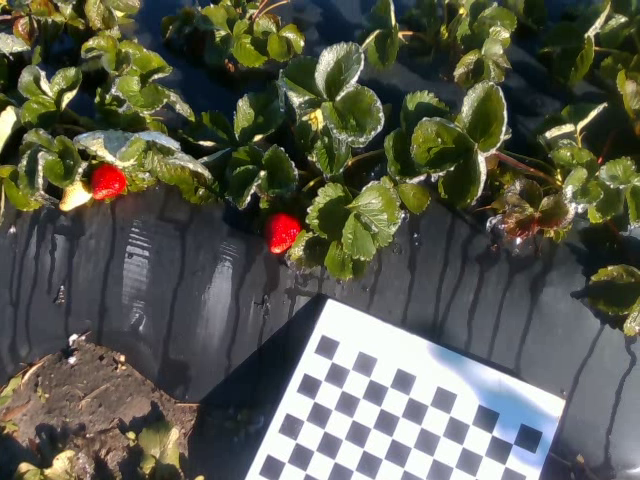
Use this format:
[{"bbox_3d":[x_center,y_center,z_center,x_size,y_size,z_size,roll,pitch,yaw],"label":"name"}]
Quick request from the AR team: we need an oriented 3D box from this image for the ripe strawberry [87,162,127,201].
[{"bbox_3d":[-0.226,-0.058,0.624,0.038,0.040,0.051,8,26,9],"label":"ripe strawberry"}]

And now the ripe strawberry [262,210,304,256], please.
[{"bbox_3d":[-0.040,-0.005,0.588,0.042,0.047,0.052,15,37,10],"label":"ripe strawberry"}]
